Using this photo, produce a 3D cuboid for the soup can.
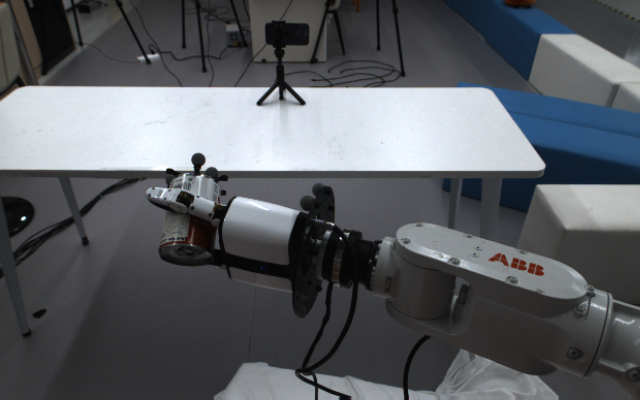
[{"bbox_3d":[-0.162,0.025,0.615,0.067,0.067,0.101,0,61,-3],"label":"soup can"}]
